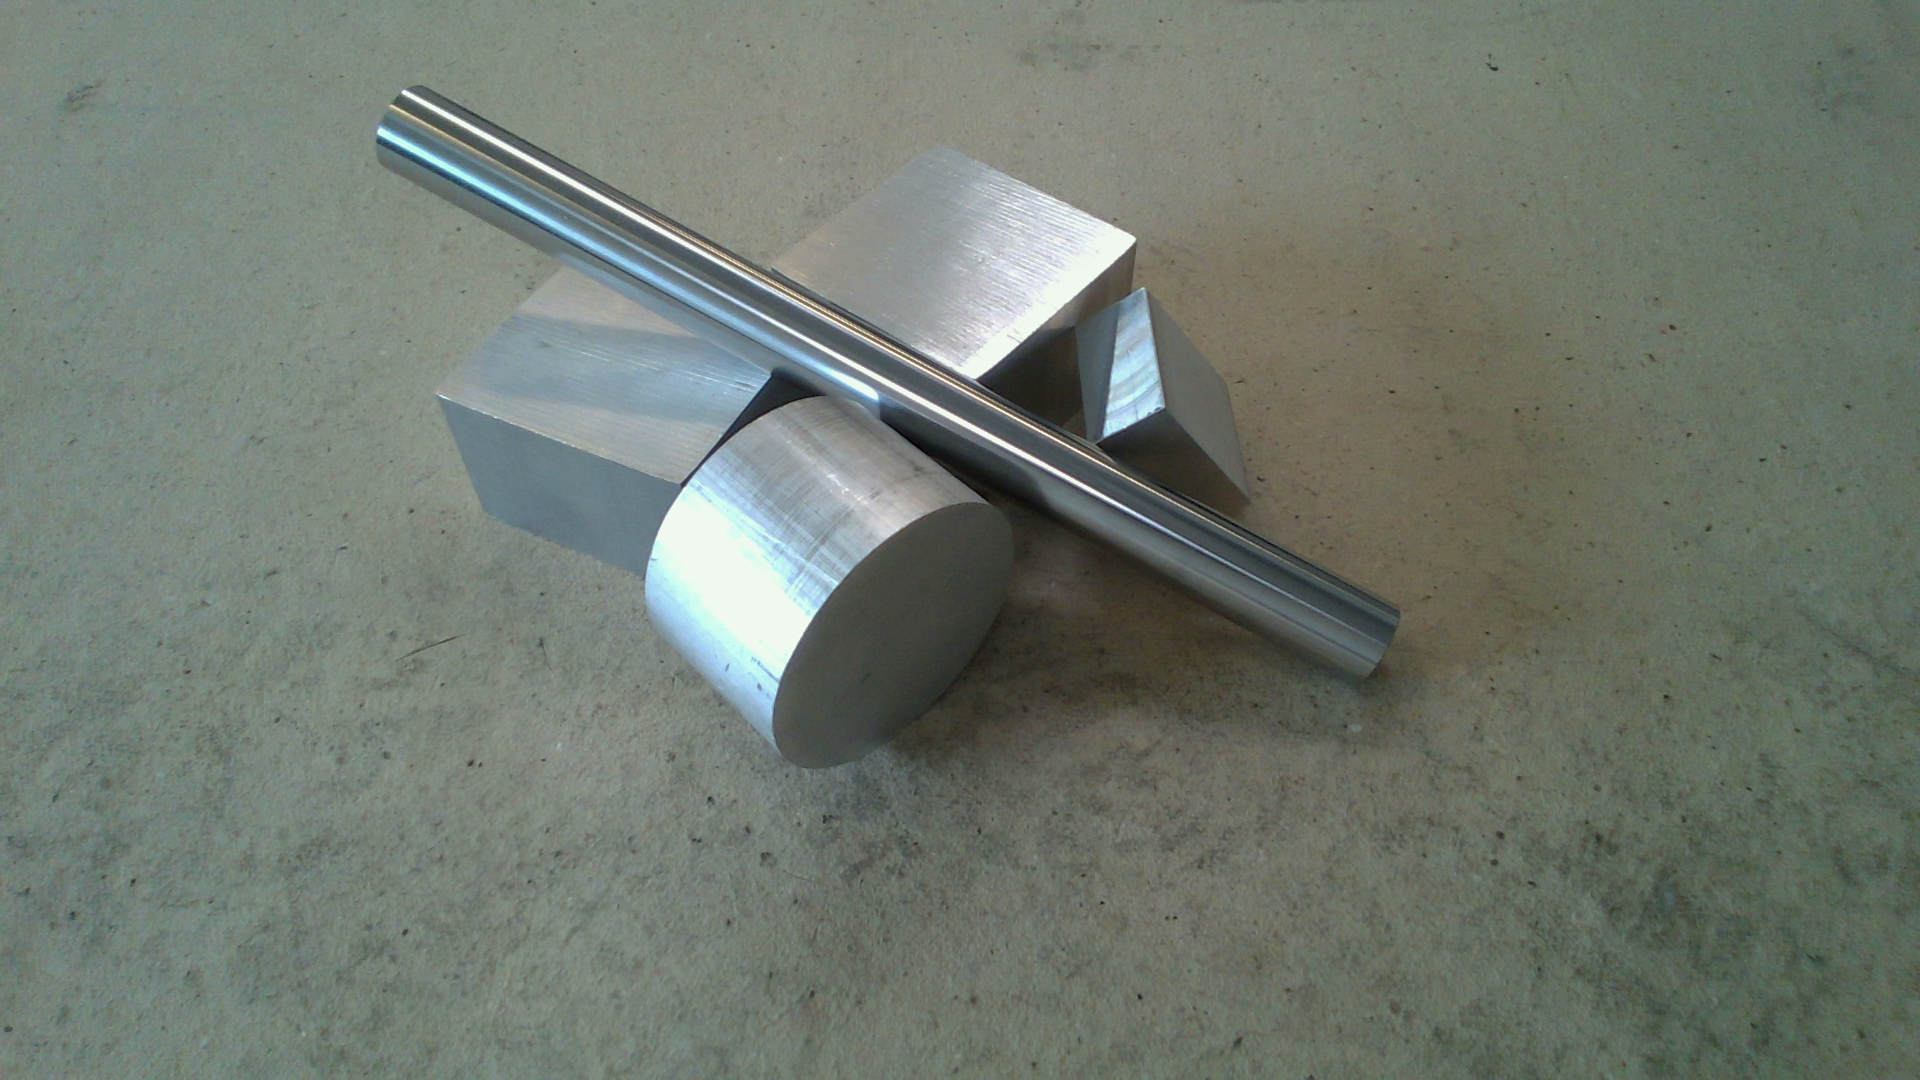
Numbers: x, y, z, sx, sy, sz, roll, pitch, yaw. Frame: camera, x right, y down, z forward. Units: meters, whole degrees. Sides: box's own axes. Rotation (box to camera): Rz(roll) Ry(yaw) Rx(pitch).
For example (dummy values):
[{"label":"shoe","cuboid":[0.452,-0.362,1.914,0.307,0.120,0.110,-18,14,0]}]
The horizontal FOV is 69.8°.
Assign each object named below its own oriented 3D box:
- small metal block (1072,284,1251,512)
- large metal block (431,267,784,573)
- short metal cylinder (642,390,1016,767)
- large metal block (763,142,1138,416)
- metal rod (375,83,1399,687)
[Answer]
[{"label":"small metal block","cuboid":[0.059,-0.037,0.404,0.025,0.050,0.050,-26,45,26]},{"label":"large metal block","cuboid":[-0.092,-0.039,0.408,0.080,0.050,0.080,20,53,16]},{"label":"short metal cylinder","cuboid":[-0.032,0.010,0.347,0.080,0.080,0.050,-36,59,-27]},{"label":"large metal block","cuboid":[-0.002,-0.071,0.432,0.080,0.050,0.080,32,57,24]},{"label":"metal rod","cuboid":[-0.021,-0.043,0.374,0.300,0.025,0.025,28,54,2]}]
